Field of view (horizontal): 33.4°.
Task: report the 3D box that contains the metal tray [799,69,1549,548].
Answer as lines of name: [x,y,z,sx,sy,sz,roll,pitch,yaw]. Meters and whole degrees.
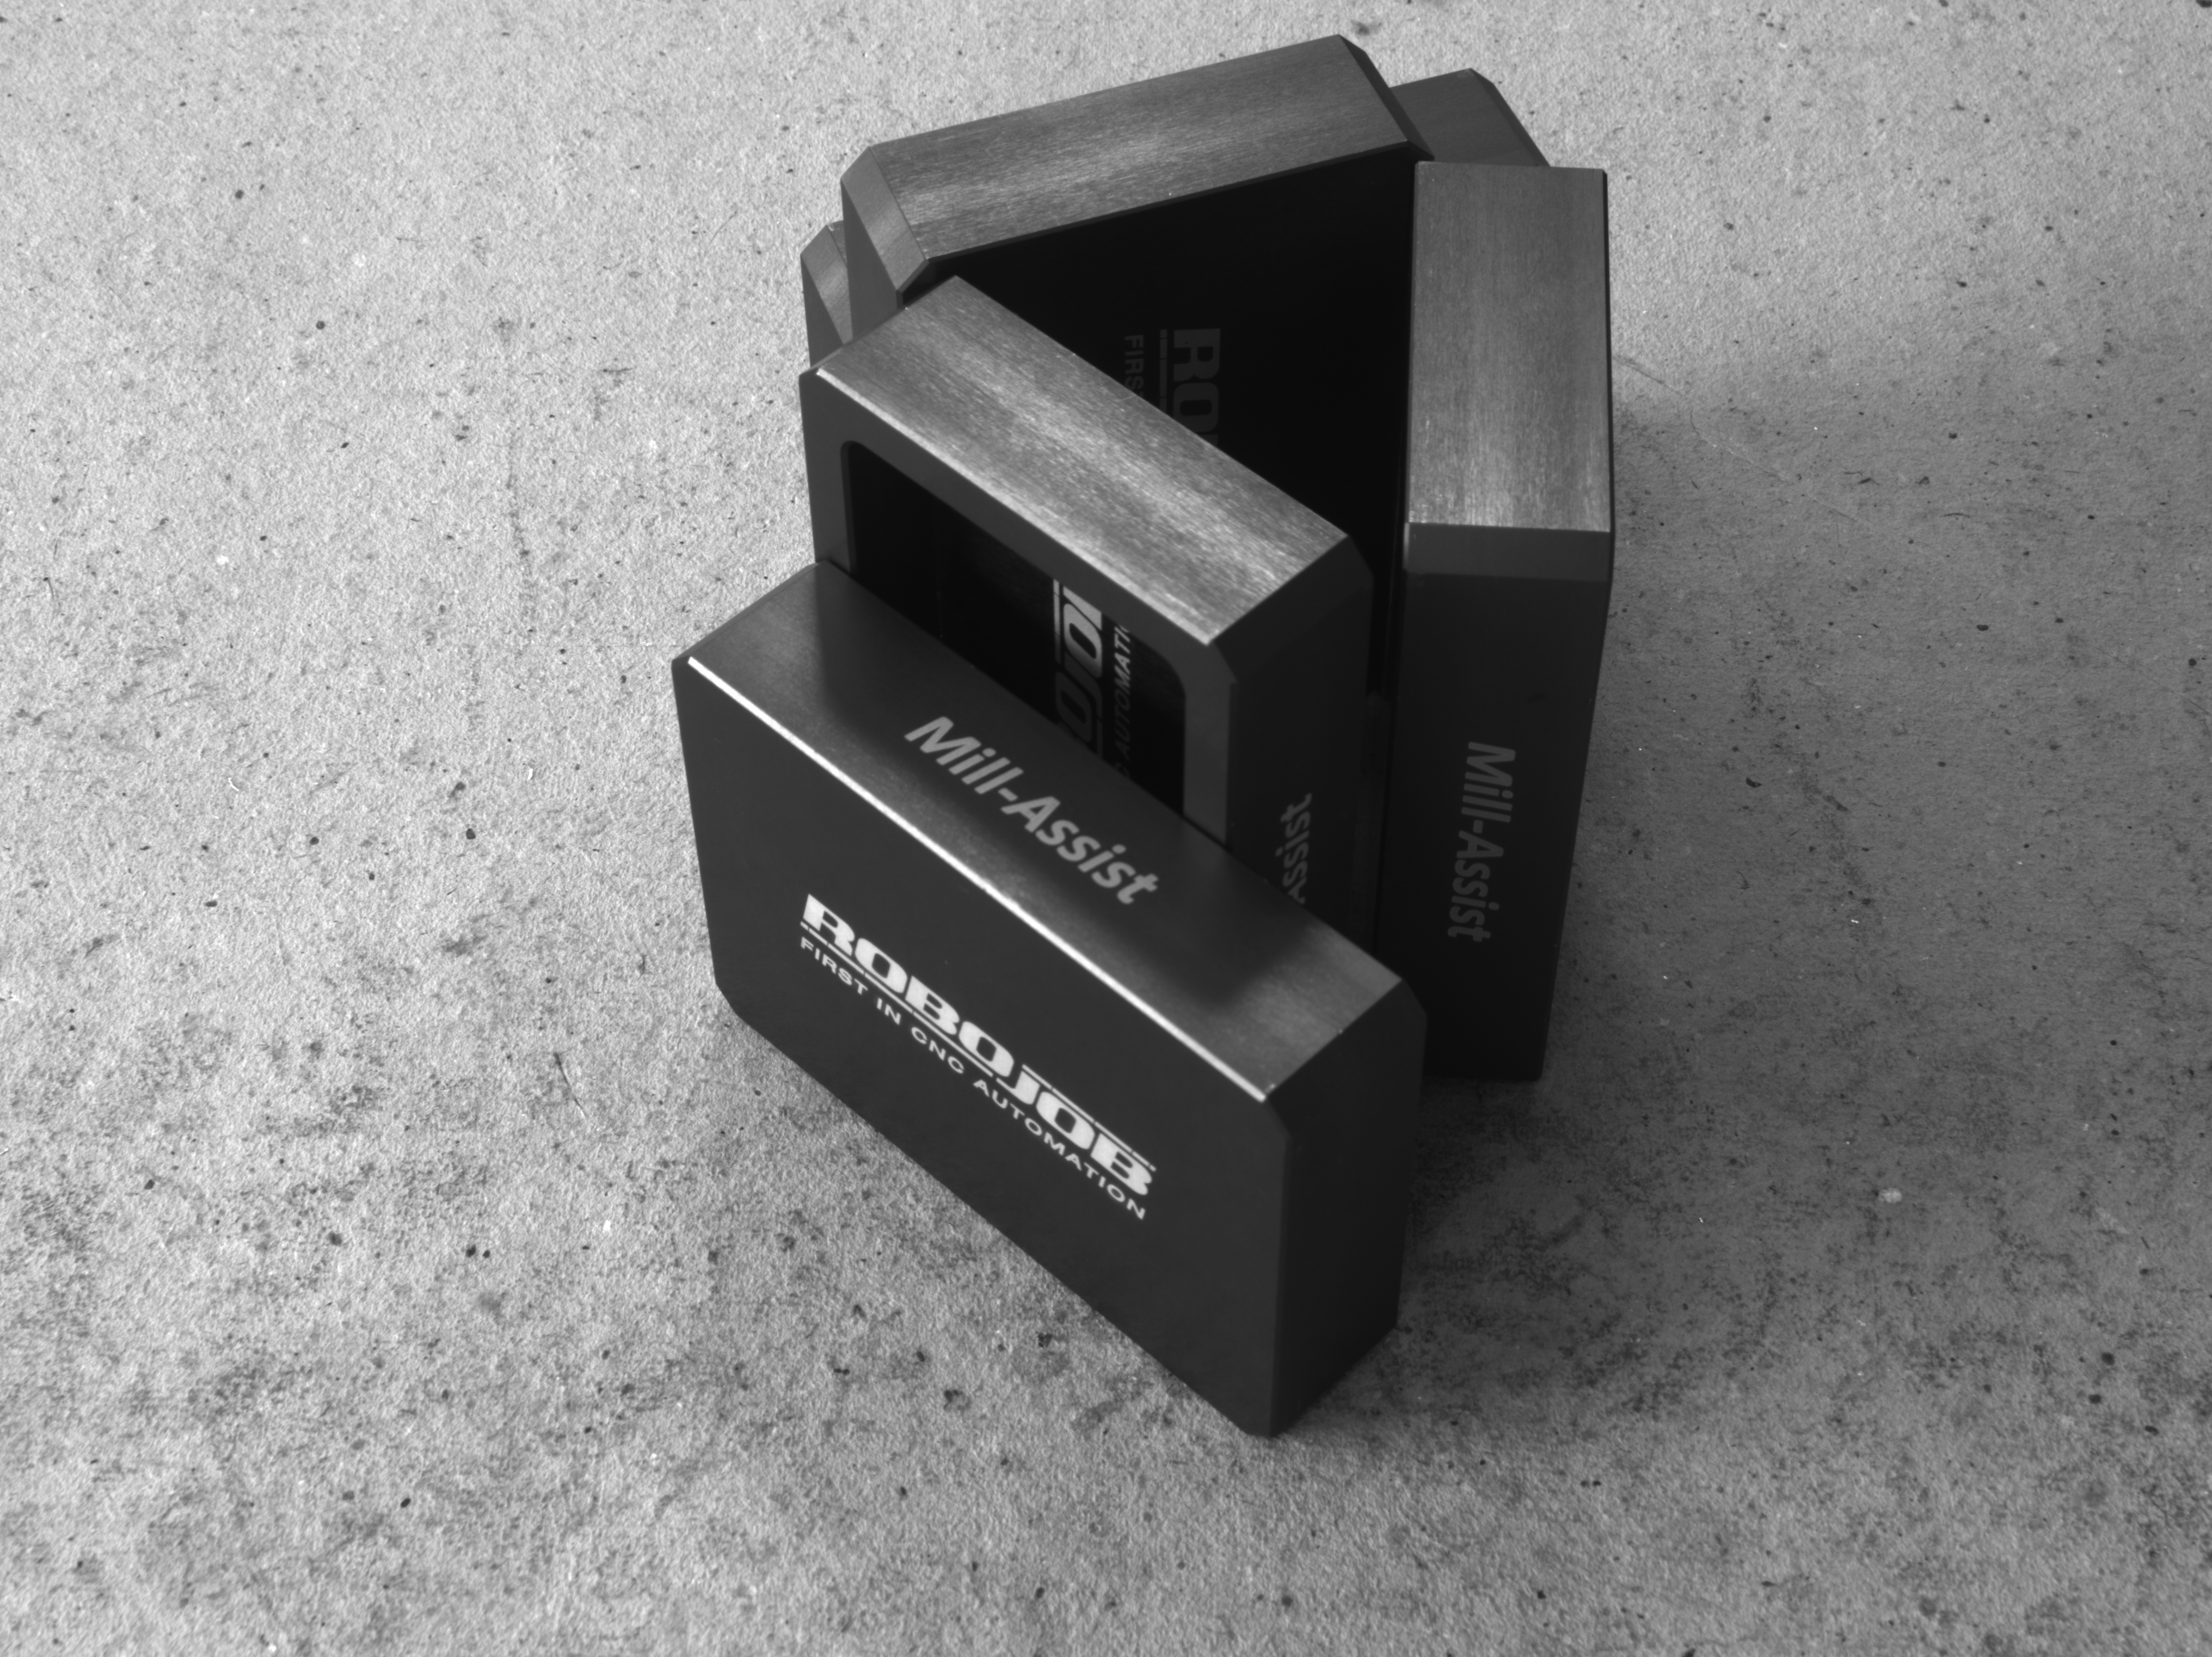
metal tray: [0.013,-0.080,0.668,0.130,0.090,0.030,-15,51,-13]

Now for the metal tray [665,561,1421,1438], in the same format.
metal tray: [-0.011,0.027,0.577,0.130,0.090,0.030,36,59,27]

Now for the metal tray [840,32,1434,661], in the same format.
metal tray: [0.005,-0.067,0.630,0.090,0.130,0.030,-16,52,-13]

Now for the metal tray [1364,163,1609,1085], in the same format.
metal tray: [0.061,-0.031,0.600,0.030,0.130,0.090,4,50,3]

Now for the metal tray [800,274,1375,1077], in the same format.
metal tray: [-0.004,-0.013,0.585,0.090,0.130,0.030,36,58,27]
